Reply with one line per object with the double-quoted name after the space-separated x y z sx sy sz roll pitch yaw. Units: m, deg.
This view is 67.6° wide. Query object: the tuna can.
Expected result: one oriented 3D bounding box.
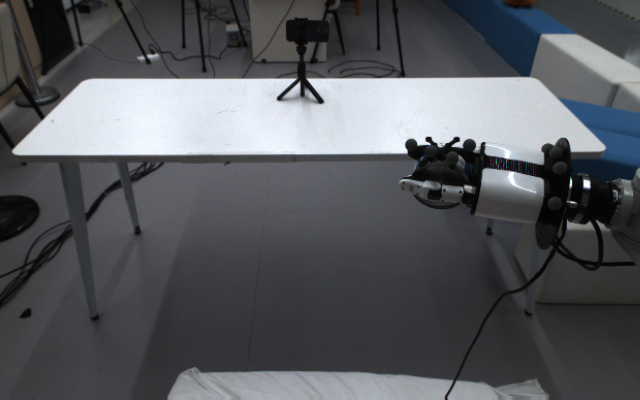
0.180 -0.031 0.714 0.085 0.085 0.034 12 39 13 "tuna can"
